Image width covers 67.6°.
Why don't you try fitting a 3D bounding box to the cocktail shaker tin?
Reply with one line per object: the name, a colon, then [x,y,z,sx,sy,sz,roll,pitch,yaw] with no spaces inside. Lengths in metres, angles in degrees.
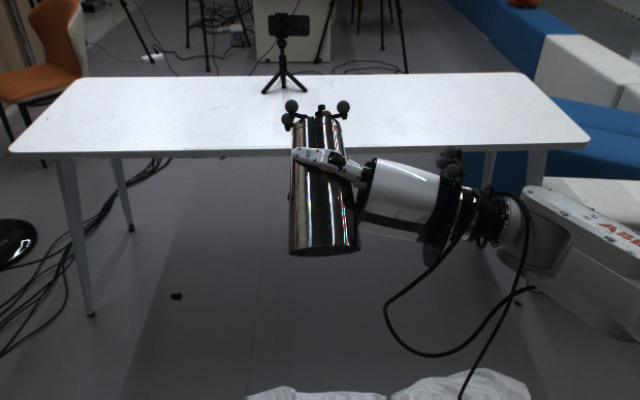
cocktail shaker tin: [0.002,-0.017,0.628,0.093,0.093,0.170,-3,76,-8]
